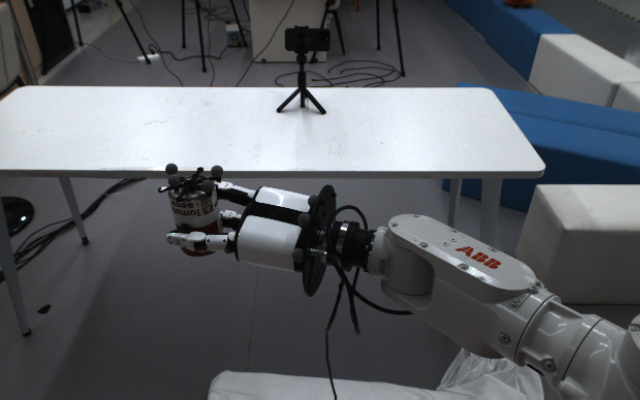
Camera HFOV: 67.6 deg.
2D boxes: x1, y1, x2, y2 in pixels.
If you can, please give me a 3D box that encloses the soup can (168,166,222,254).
[{"bbox_3d":[-0.180,0.025,0.714,0.067,0.101,0.067,-2,33,1],"label":"soup can"}]
